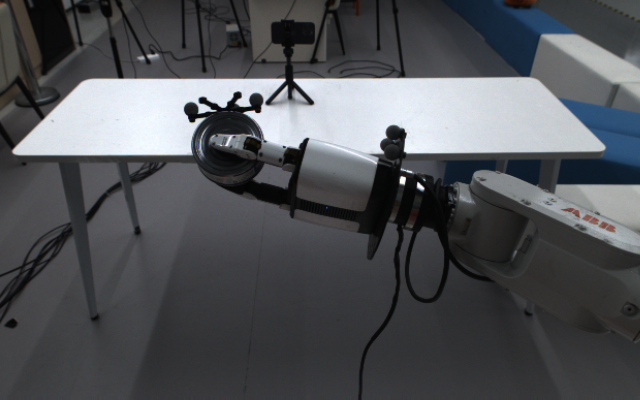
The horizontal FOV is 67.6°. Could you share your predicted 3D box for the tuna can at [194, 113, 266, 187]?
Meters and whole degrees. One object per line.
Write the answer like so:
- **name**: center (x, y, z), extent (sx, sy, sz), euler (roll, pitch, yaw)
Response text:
- **tuna can**: center (-0.103, -0.057, 0.573), extent (0.085, 0.034, 0.085), euler (0, 73, -1)
